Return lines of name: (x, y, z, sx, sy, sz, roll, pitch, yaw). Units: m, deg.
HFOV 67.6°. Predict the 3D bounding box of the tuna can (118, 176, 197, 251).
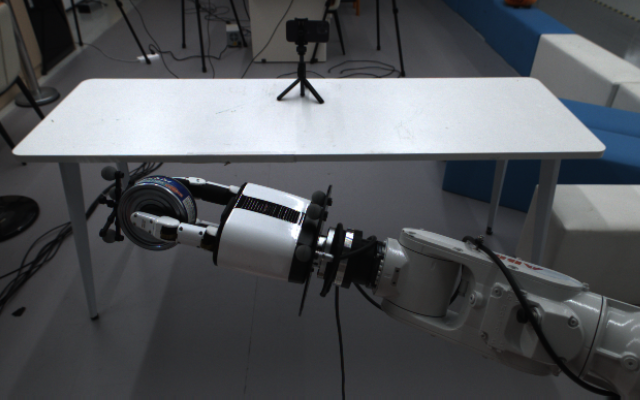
tuna can: (-0.188, 0.020, 0.567, 0.085, 0.085, 0.034, 4, 19, 3)
